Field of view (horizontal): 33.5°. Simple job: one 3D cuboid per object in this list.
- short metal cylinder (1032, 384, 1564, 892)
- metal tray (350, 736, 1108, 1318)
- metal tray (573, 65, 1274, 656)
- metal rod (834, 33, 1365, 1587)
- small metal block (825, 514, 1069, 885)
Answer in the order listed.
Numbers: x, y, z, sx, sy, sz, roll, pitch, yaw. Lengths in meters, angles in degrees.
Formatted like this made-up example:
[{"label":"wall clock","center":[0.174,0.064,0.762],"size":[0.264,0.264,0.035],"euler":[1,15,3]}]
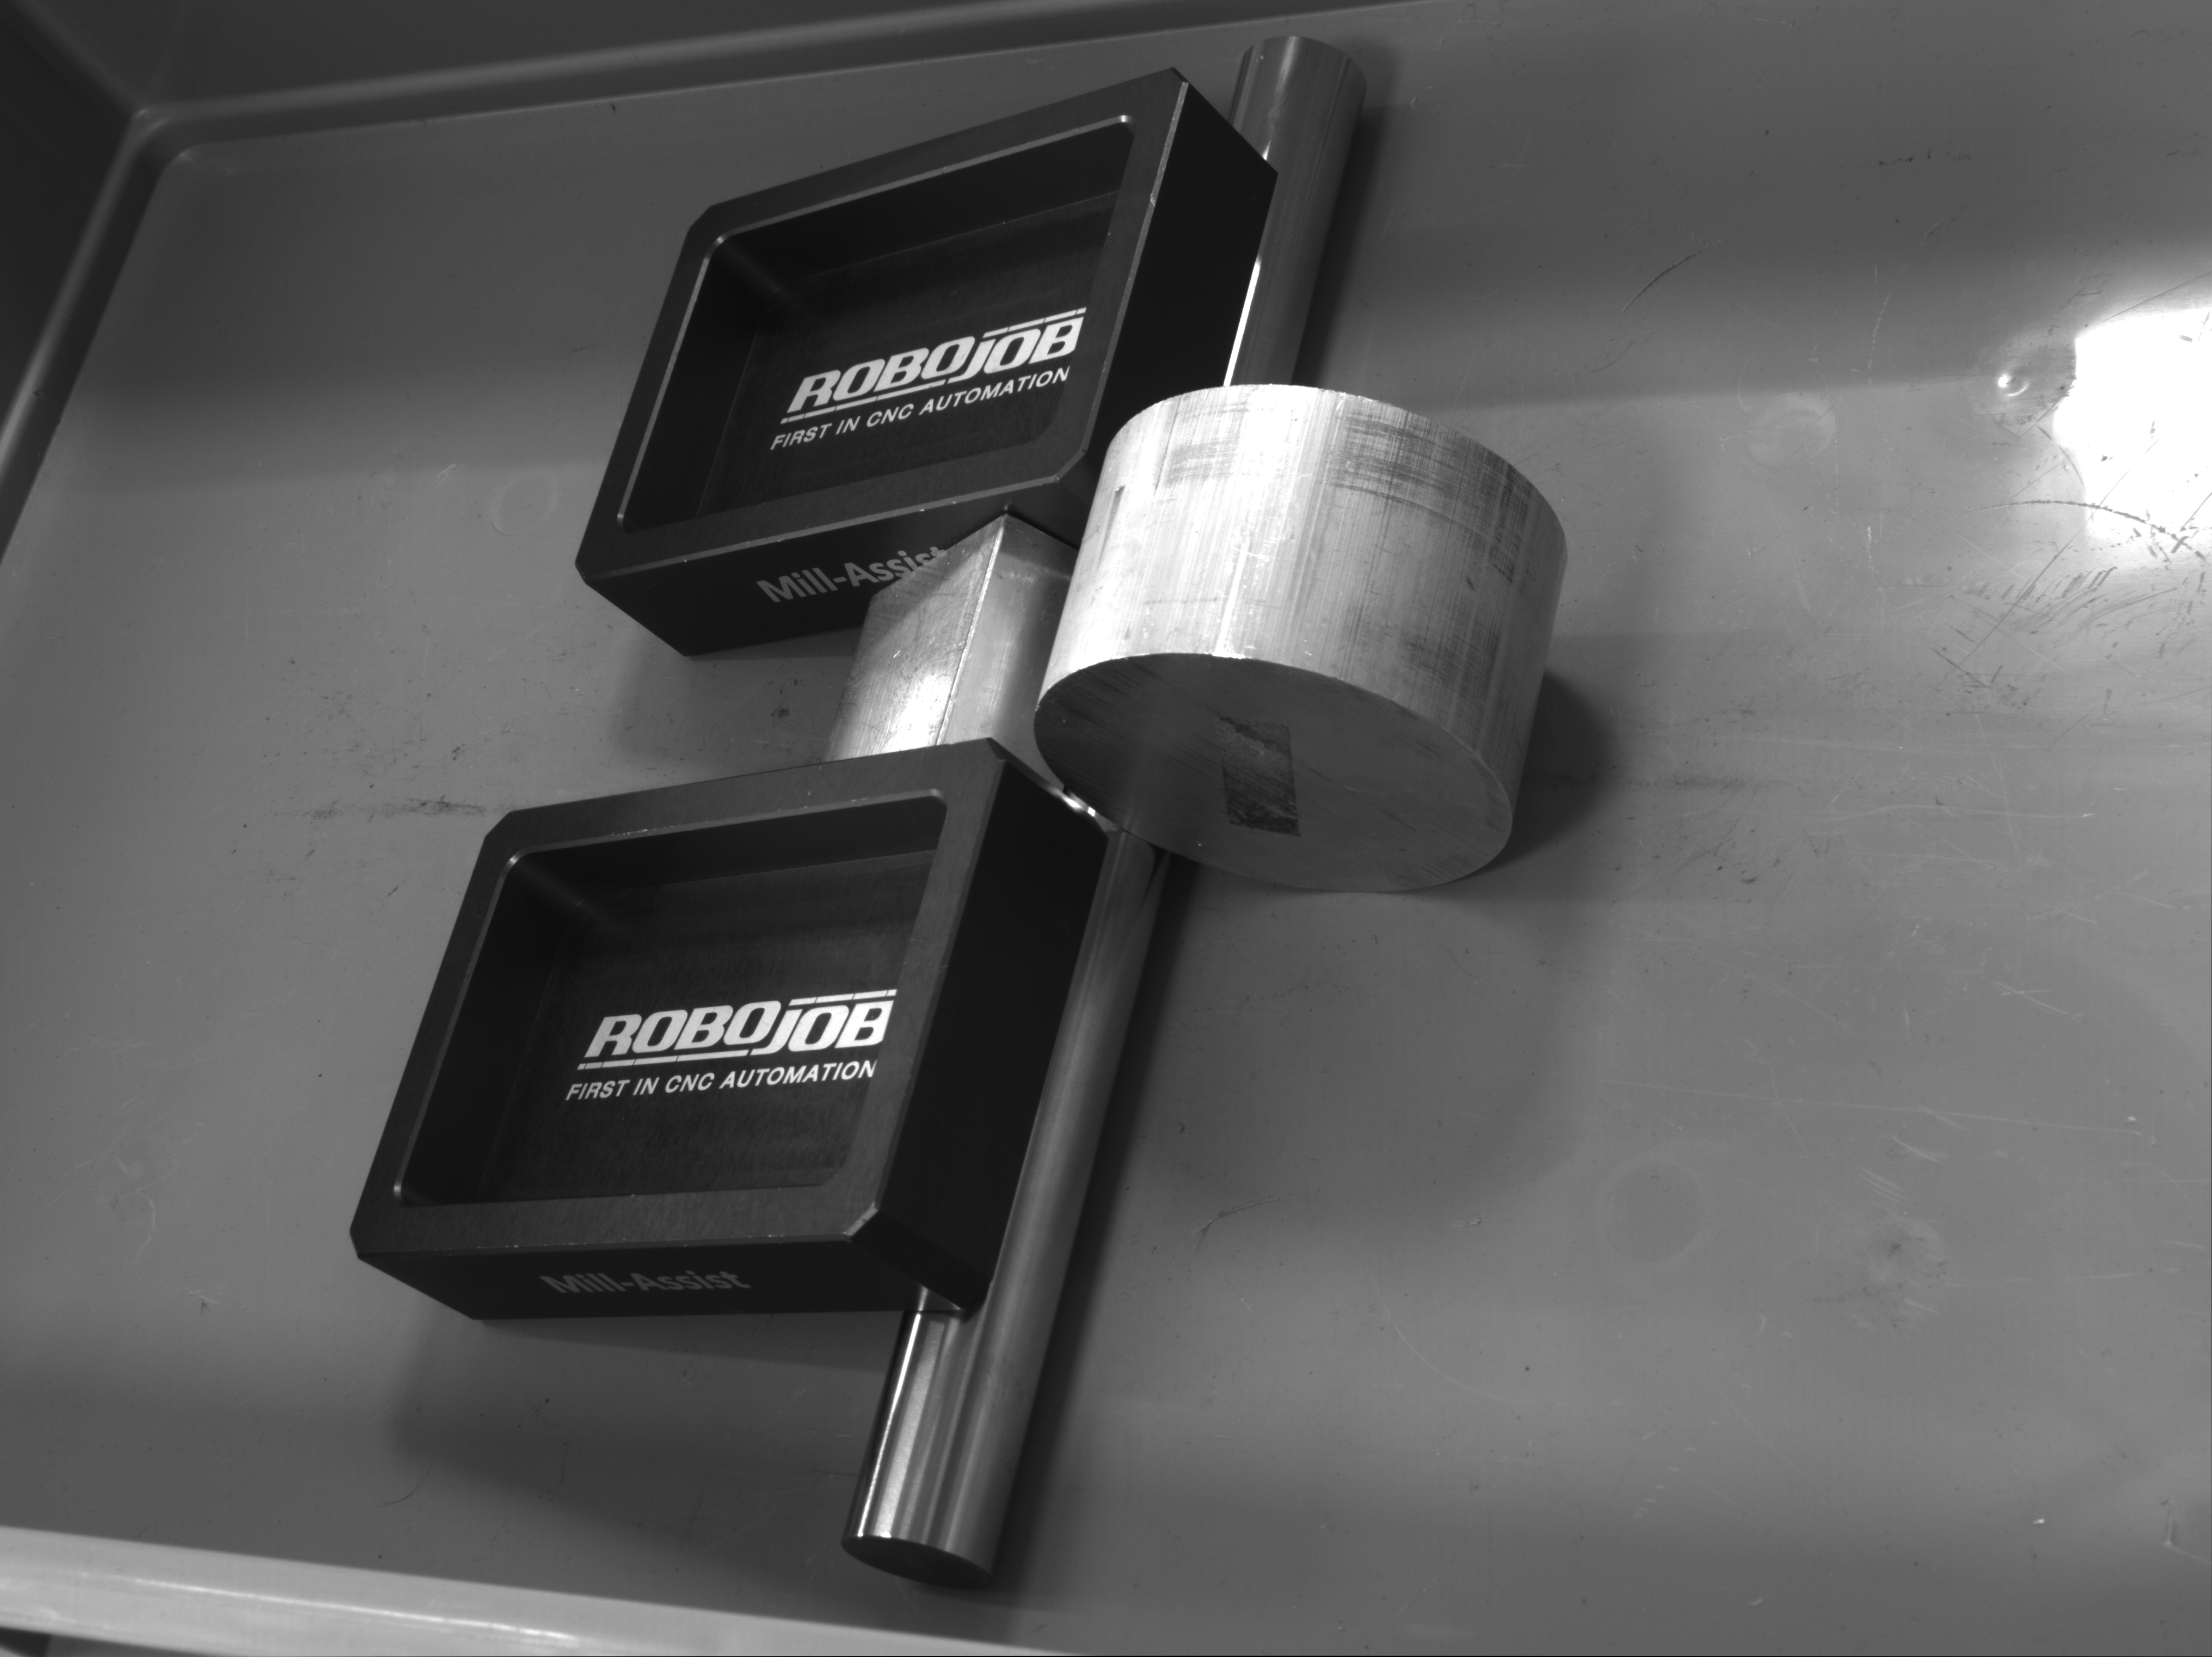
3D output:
[{"label":"short metal cylinder","center":[0.032,-0.030,0.610],"size":[0.080,0.080,0.050],"euler":[0,62,29]},{"label":"metal tray","center":[-0.067,0.037,0.637],"size":[0.130,0.030,0.090],"euler":[-7,58,39]},{"label":"metal tray","center":[-0.036,-0.086,0.696],"size":[0.130,0.030,0.090],"euler":[-8,57,39]},{"label":"metal rod","center":[0.003,-0.015,0.651],"size":[0.025,0.025,0.300],"euler":[0,62,29]},{"label":"small metal block","center":[-0.026,-0.022,0.658],"size":[0.050,0.025,0.050],"euler":[-24,45,55]}]
